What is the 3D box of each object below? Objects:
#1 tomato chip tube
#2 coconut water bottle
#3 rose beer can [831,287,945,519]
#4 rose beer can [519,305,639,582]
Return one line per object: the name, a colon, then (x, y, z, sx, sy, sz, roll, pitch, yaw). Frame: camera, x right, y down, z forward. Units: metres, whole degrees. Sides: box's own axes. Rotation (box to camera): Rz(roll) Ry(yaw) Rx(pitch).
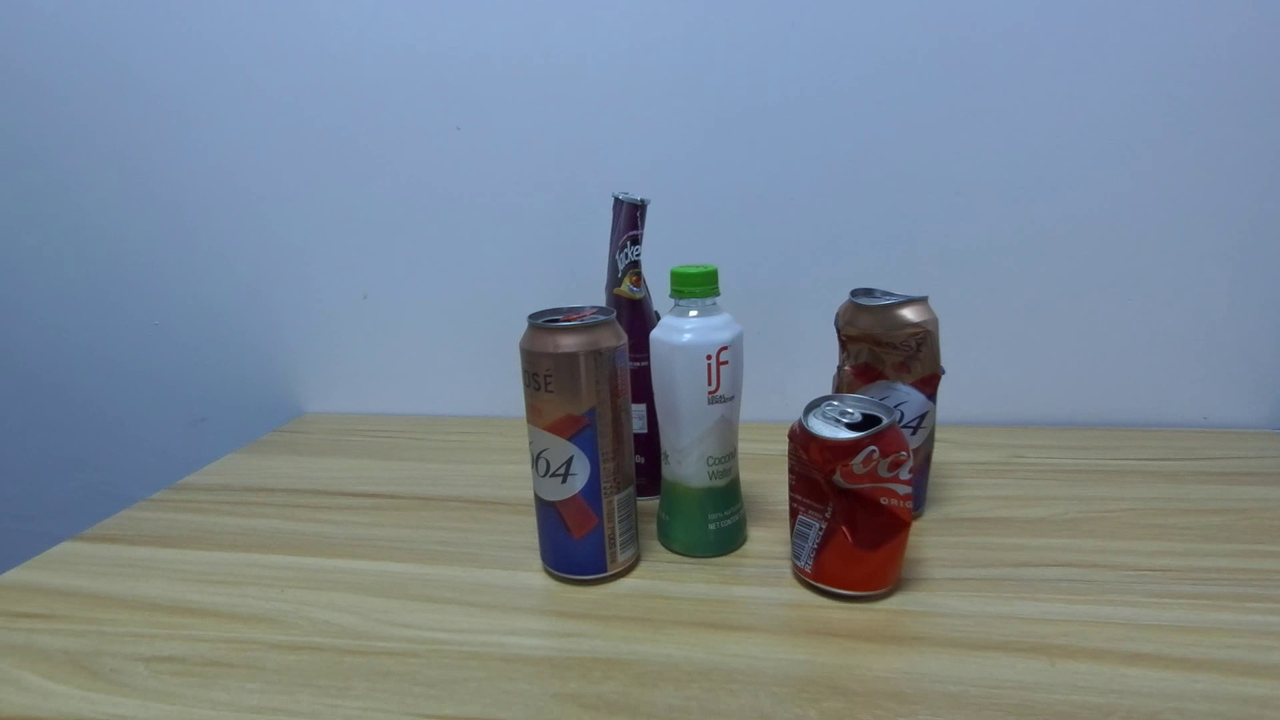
tomato chip tube: (0.000, -0.011, 0.557, 0.077, 0.235, 0.090, 9, 18, 36)
coconut water bottle: (0.039, 0.033, 0.470, 0.063, 0.188, 0.063, -3, 14, 1)
rose beer can: (0.174, 0.032, 0.505, 0.073, 0.162, 0.068, 3, 15, 14)
rose beer can: (-0.037, 0.056, 0.452, 0.068, 0.169, 0.068, -4, 14, 1)
